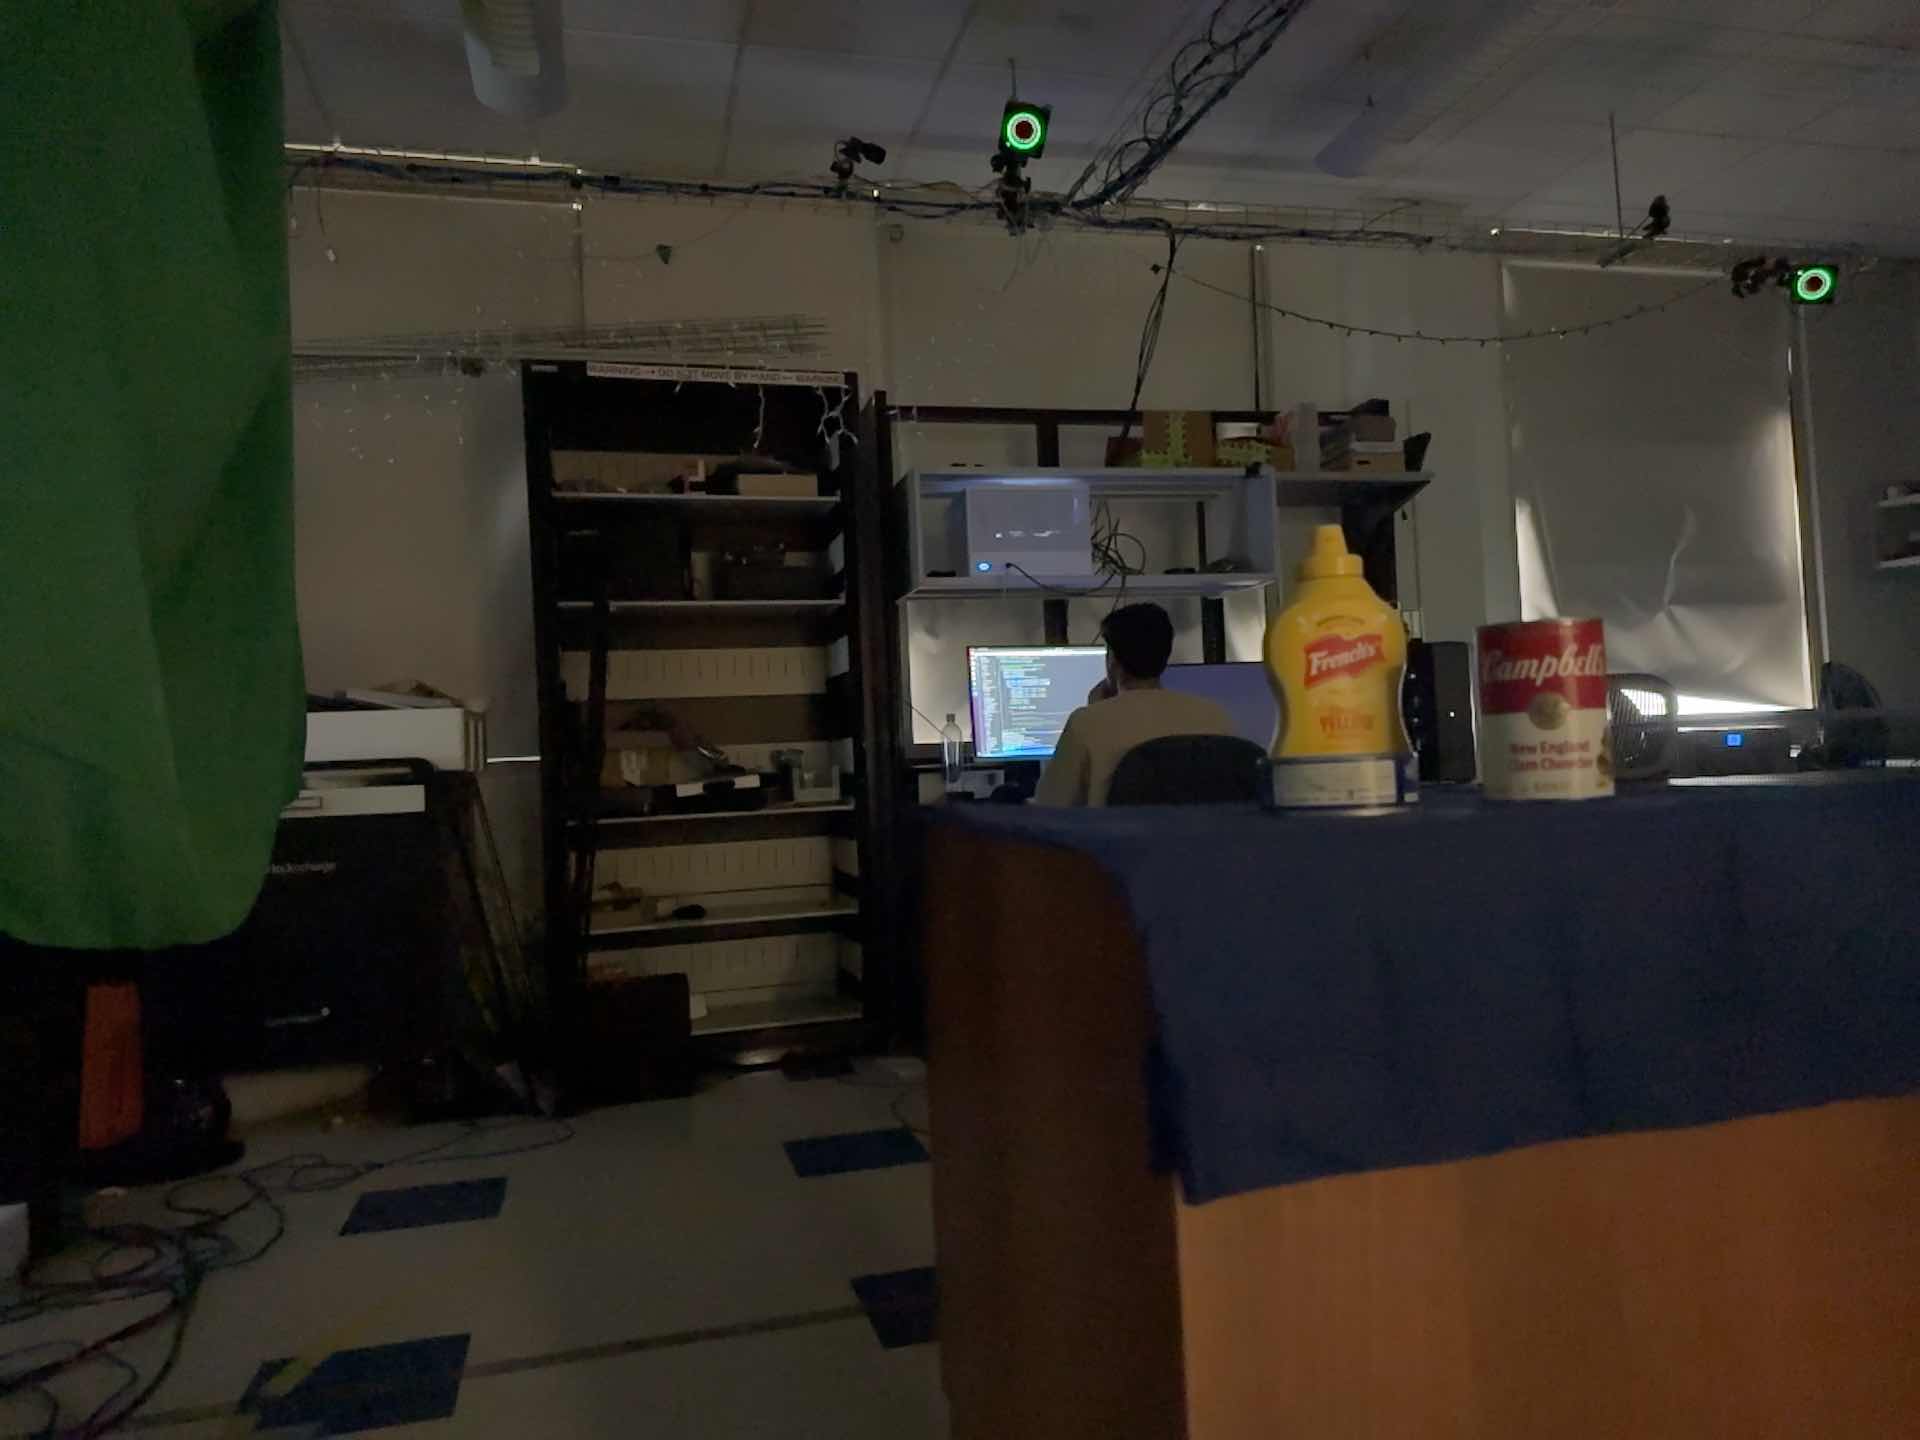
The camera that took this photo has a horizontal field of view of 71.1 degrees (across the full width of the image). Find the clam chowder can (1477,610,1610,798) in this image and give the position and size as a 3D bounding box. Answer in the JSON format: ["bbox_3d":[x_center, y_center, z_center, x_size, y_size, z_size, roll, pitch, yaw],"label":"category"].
[{"bbox_3d":[0.329,-0.009,0.759,0.068,0.102,0.068,-2,1,0],"label":"clam chowder can"}]

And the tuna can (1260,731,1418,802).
[{"bbox_3d":[0.211,0.024,0.749,0.083,0.034,0.083,-2,1,0],"label":"tuna can"}]

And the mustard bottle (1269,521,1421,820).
[{"bbox_3d":[0.238,-0.032,0.840,0.092,0.184,0.054,-1,3,1],"label":"mustard bottle"}]
